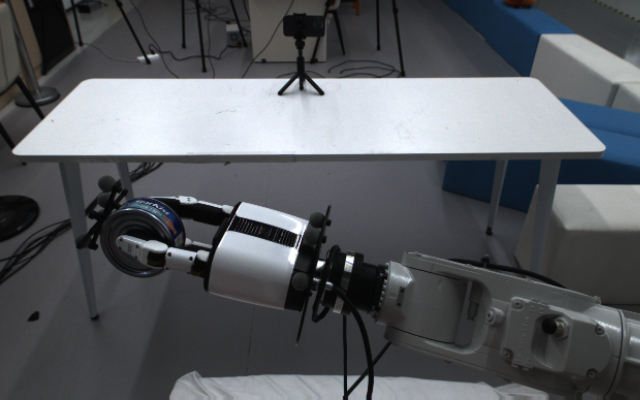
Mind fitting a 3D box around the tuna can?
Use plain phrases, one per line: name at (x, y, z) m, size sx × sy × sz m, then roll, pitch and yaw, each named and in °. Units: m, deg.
tuna can at (-0.192, 0.047, 0.534) m, size 0.085 × 0.085 × 0.034 m, roll 4°, pitch 22°, yaw 2°
